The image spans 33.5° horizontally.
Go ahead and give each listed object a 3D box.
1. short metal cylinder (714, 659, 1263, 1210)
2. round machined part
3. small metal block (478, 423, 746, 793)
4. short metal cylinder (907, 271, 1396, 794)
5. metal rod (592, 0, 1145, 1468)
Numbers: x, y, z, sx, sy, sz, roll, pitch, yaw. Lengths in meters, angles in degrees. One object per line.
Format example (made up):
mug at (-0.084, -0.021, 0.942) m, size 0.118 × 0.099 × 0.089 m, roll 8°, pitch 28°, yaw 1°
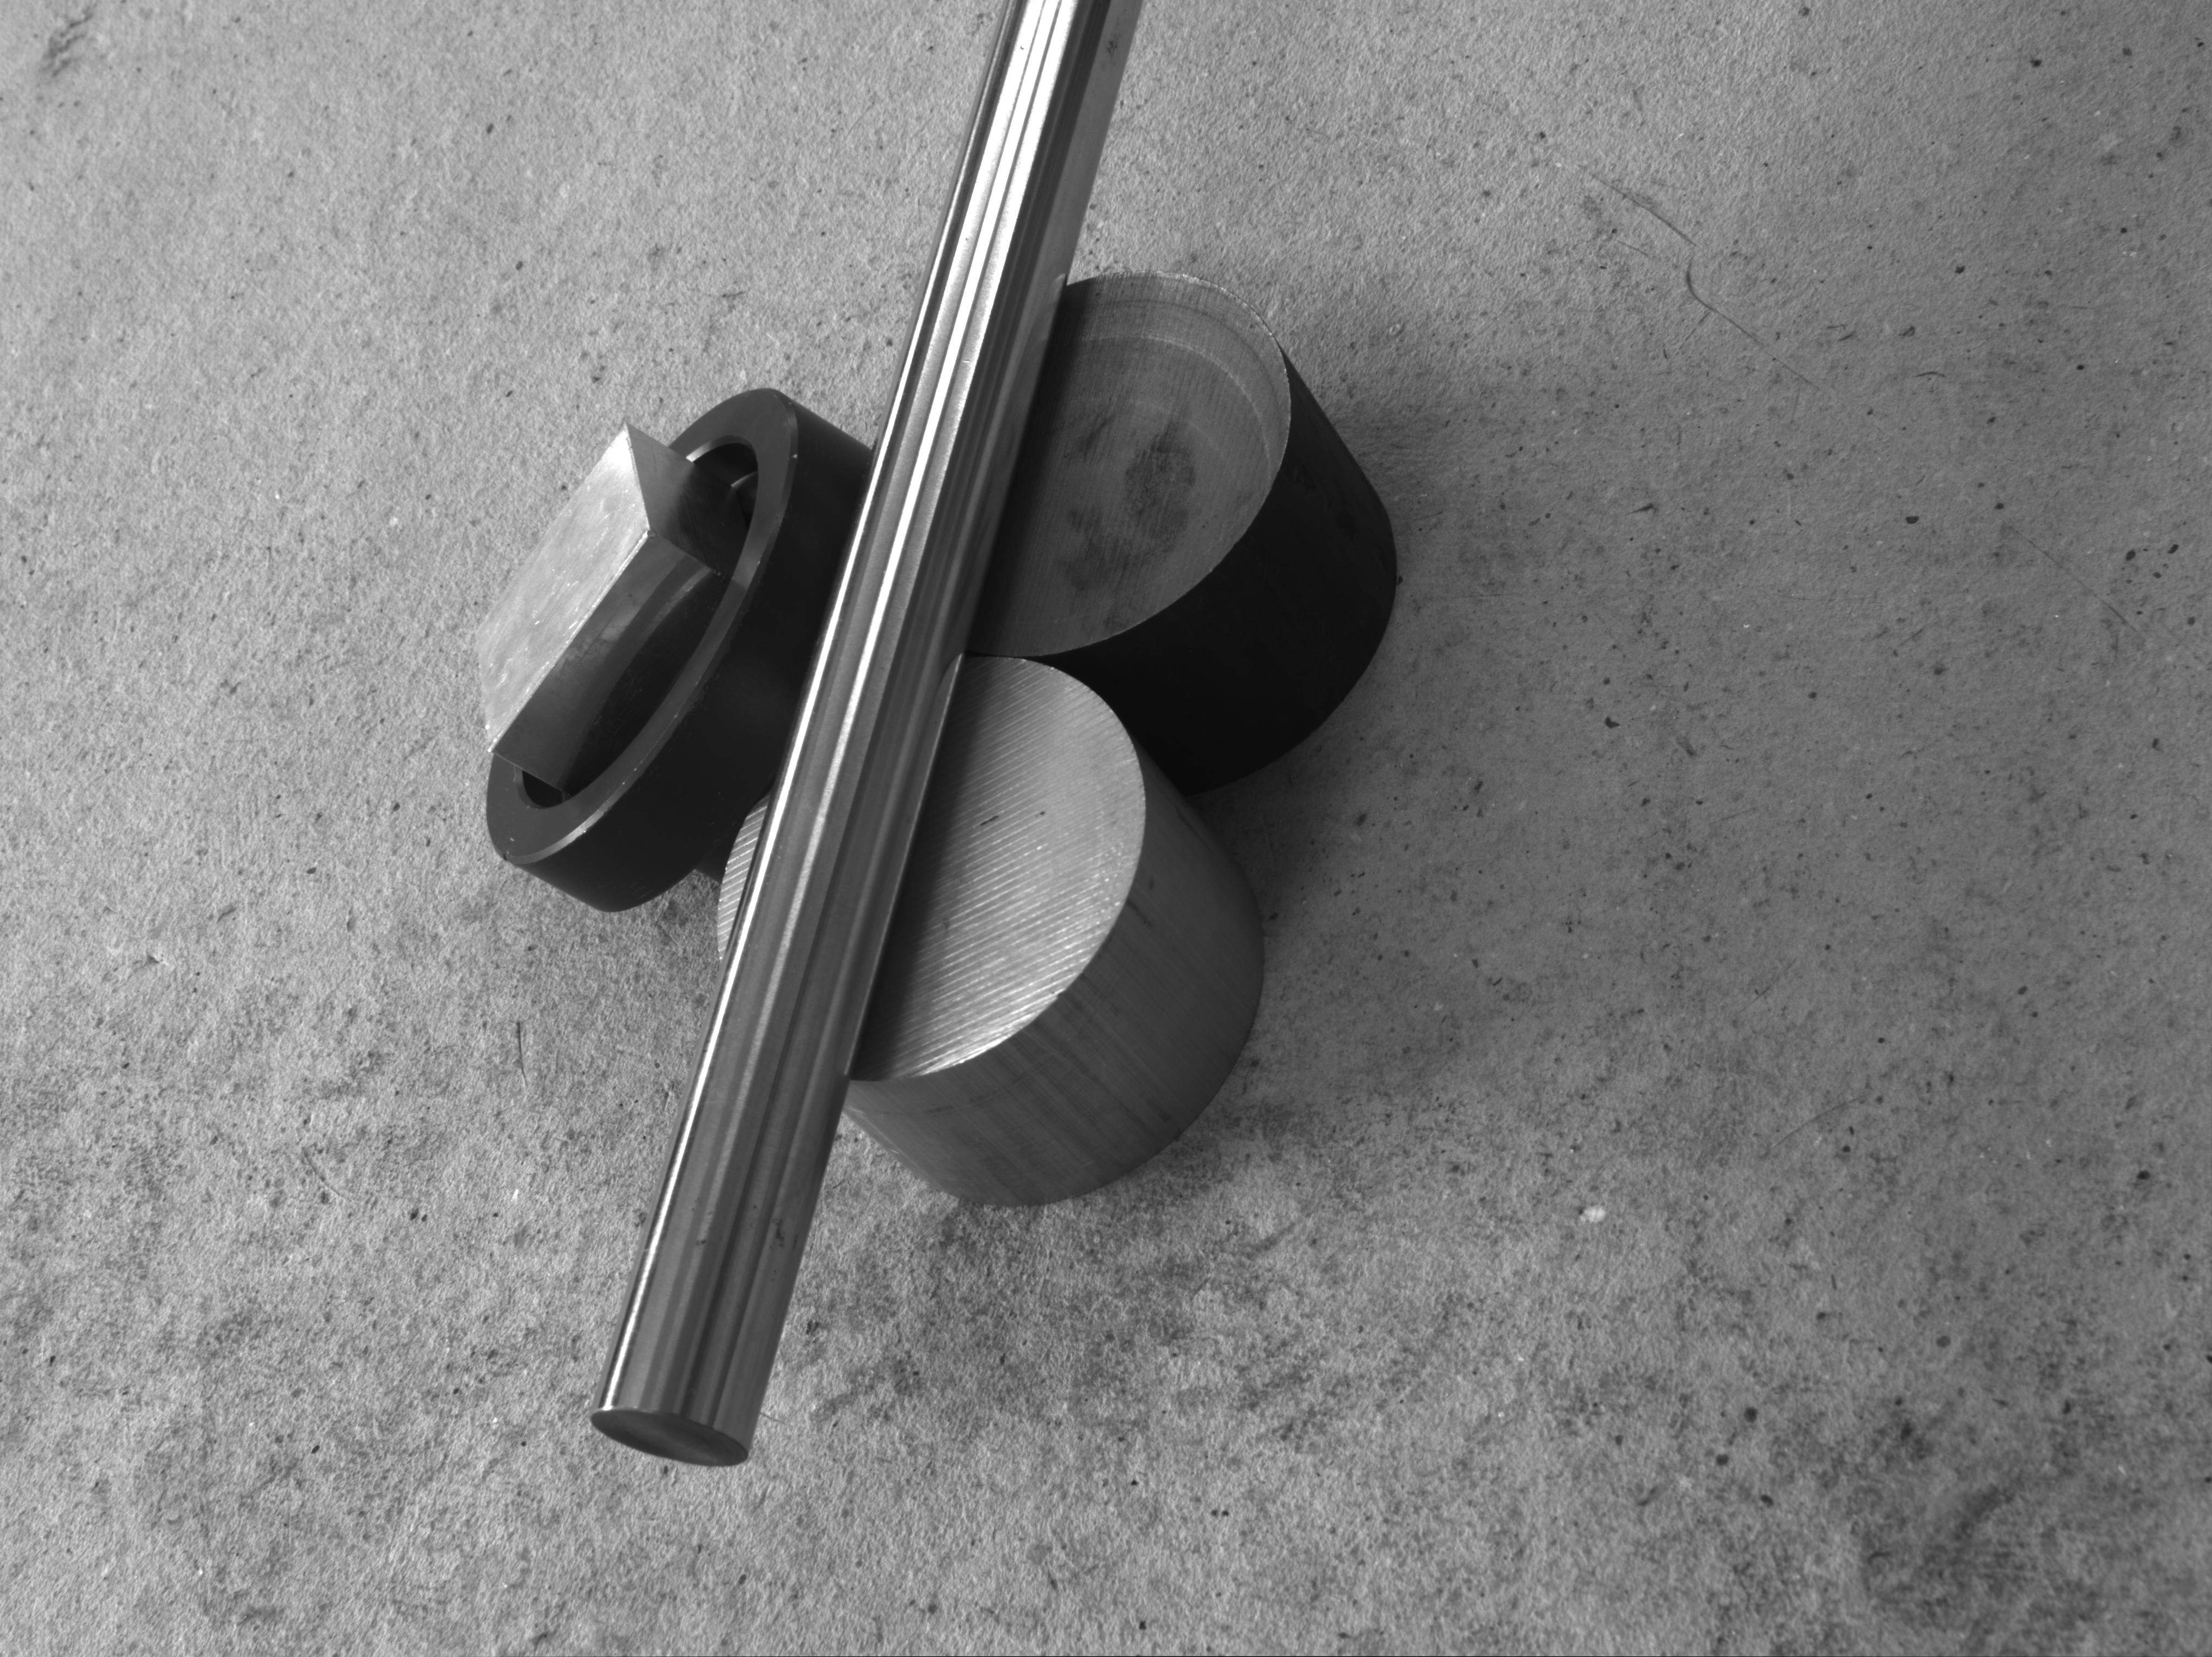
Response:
short metal cylinder at (-0.020, 0.018, 0.629) m, size 0.080 × 0.050 × 0.080 m, roll -14°, pitch 55°, yaw 21°
round machined part at (-0.069, -0.028, 0.673) m, size 0.098 × 0.042 × 0.098 m, roll -42°, pitch 30°, yaw 33°
small metal block at (-0.088, -0.038, 0.665) m, size 0.050 × 0.025 × 0.050 m, roll -52°, pitch 26°, yaw 16°
short metal cylinder at (0.006, -0.052, 0.659) m, size 0.080 × 0.050 × 0.080 m, roll -14°, pitch 56°, yaw 21°
metal rod at (-0.034, -0.039, 0.624) m, size 0.025 × 0.025 × 0.300 m, roll -1°, pitch 61°, yaw 28°
